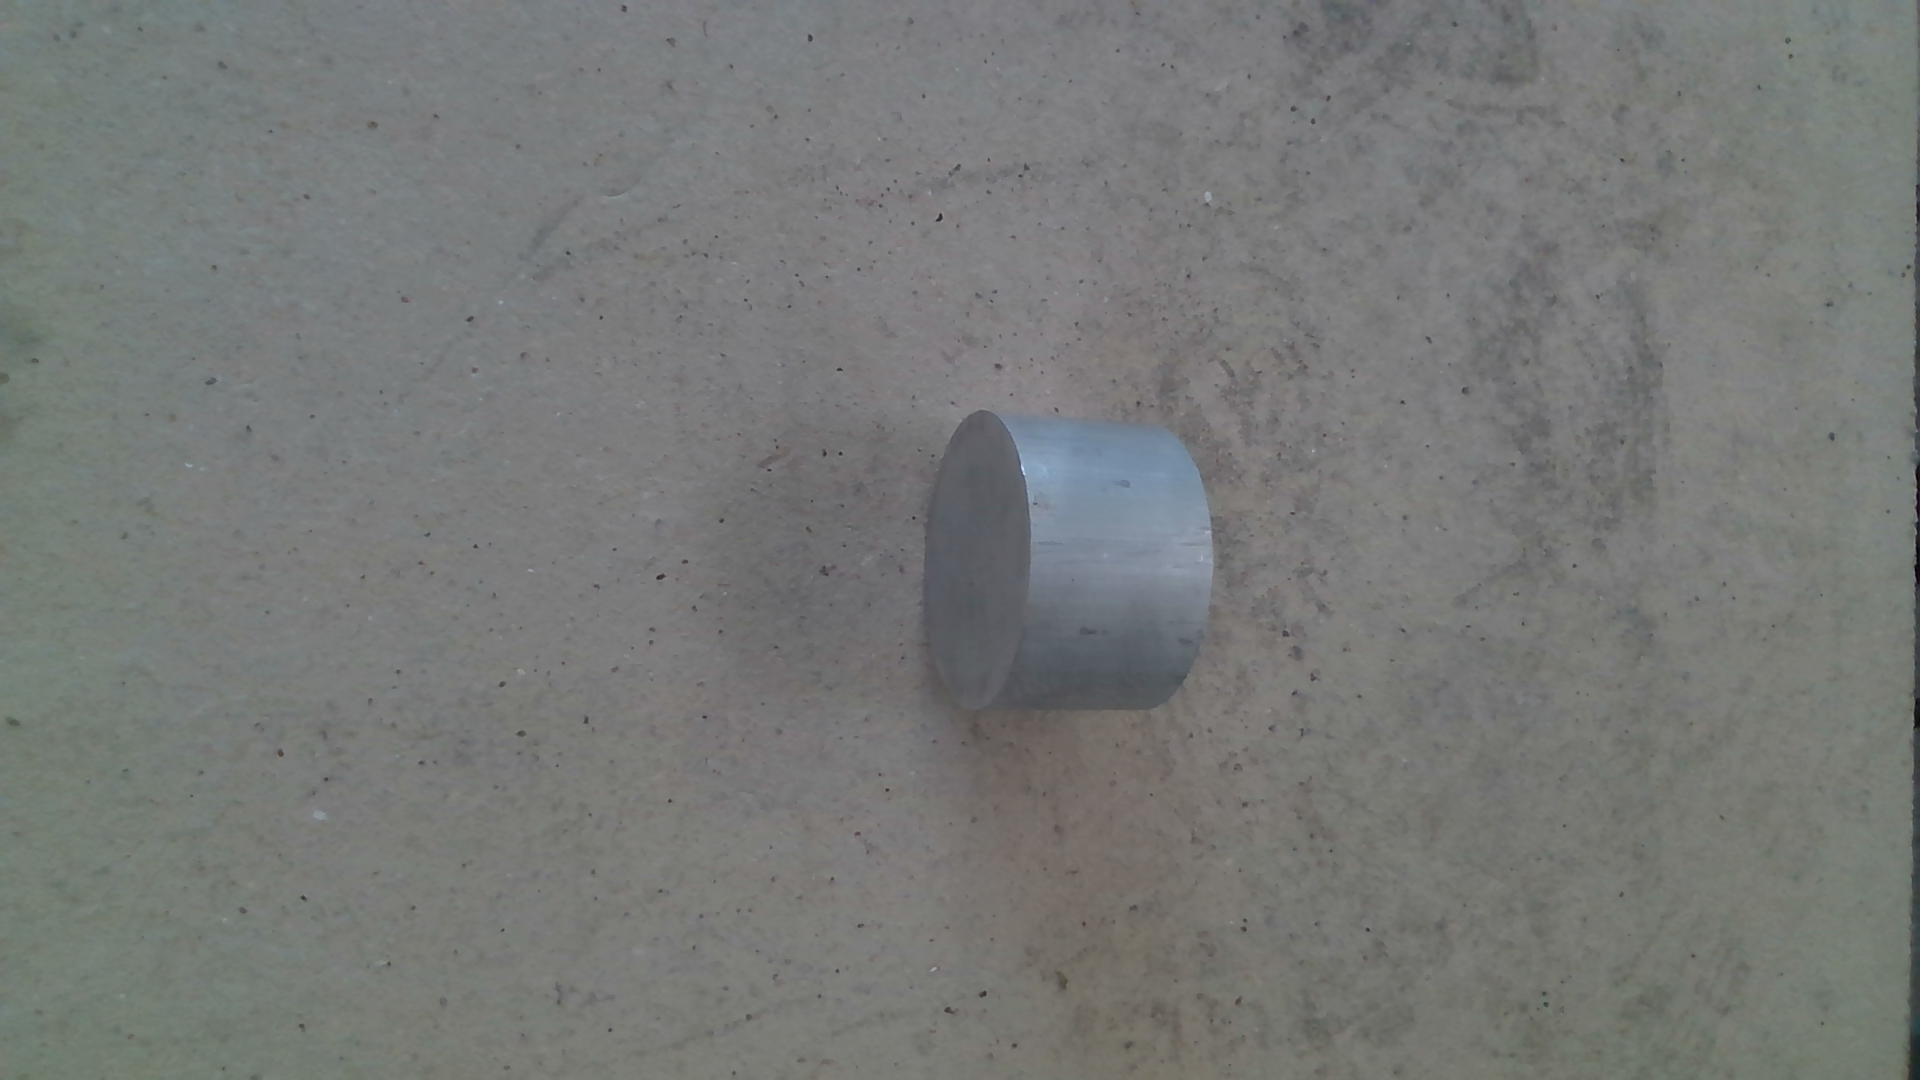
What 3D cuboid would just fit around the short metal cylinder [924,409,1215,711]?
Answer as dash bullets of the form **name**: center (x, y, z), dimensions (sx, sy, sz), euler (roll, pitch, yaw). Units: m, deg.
- **short metal cylinder**: center (0.027, 0.006, 0.375), dimensions (0.050, 0.080, 0.080), euler (2, 89, -20)
